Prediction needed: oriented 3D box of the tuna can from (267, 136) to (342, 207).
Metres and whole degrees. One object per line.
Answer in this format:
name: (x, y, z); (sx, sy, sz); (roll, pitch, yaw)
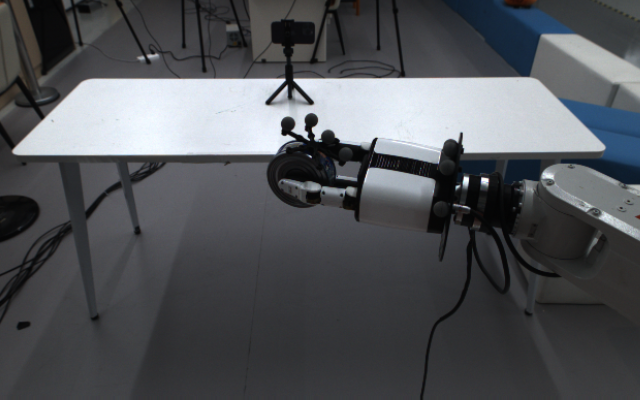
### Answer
tuna can: (-0.023, -0.033, 0.626); (0.085, 0.085, 0.034); (12, 35, 14)
